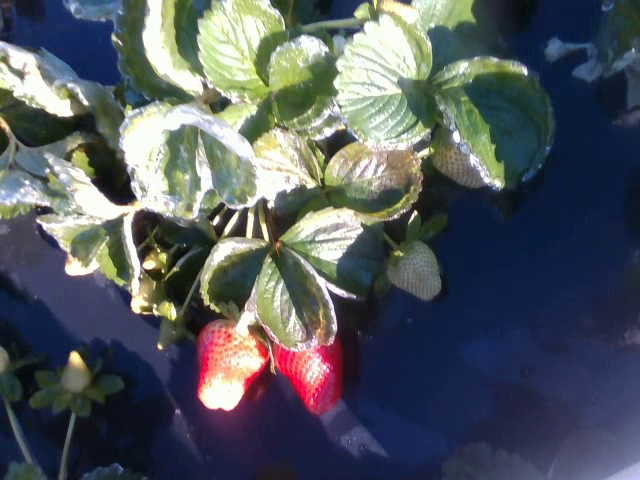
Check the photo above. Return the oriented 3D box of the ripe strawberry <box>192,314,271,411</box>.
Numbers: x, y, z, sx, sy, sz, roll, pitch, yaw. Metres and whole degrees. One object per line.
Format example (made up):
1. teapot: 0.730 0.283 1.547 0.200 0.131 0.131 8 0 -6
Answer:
1. ripe strawberry: -0.059 0.088 0.389 0.052 0.070 0.040 11 6 1

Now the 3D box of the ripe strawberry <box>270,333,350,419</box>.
1. ripe strawberry: -0.009 0.081 0.369 0.043 0.059 0.040 -35 -1 15
